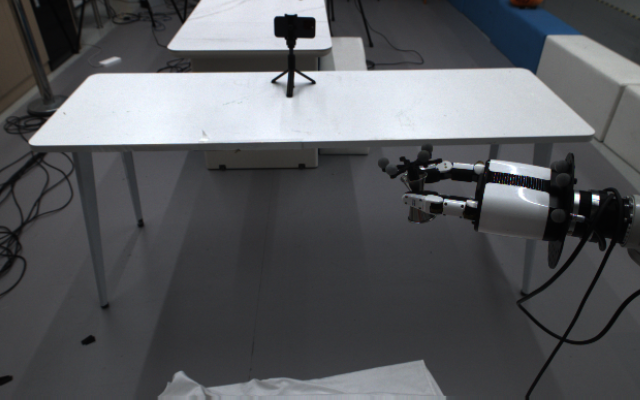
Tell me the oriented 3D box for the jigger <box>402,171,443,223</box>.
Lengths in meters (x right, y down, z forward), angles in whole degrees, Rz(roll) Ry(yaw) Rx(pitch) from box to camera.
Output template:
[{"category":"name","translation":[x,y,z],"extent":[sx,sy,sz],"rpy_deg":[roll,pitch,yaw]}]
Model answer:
[{"category":"jigger","translation":[0.147,-0.005,0.722],"extent":[0.043,0.071,0.043],"rpy_deg":[-14,21,6]}]
